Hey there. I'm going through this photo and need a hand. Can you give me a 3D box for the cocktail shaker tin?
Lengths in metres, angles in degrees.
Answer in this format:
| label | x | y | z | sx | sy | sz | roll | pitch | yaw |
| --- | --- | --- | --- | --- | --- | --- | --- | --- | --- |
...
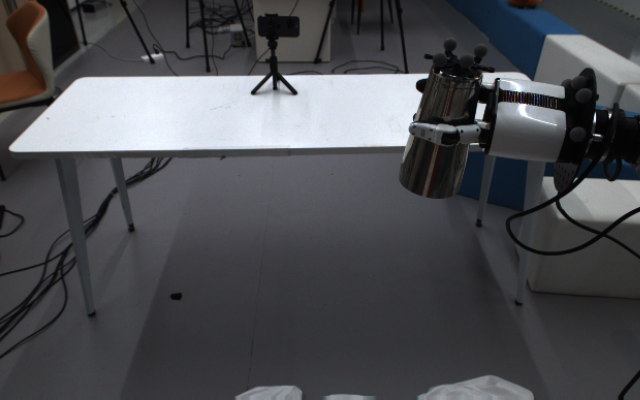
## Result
| label | x | y | z | sx | sy | sz | roll | pitch | yaw |
| --- | --- | --- | --- | --- | --- | --- | --- | --- | --- |
| cocktail shaker tin | 0.170 | -0.099 | 0.666 | 0.093 | 0.170 | 0.093 | 4 | 36 | -3 |
